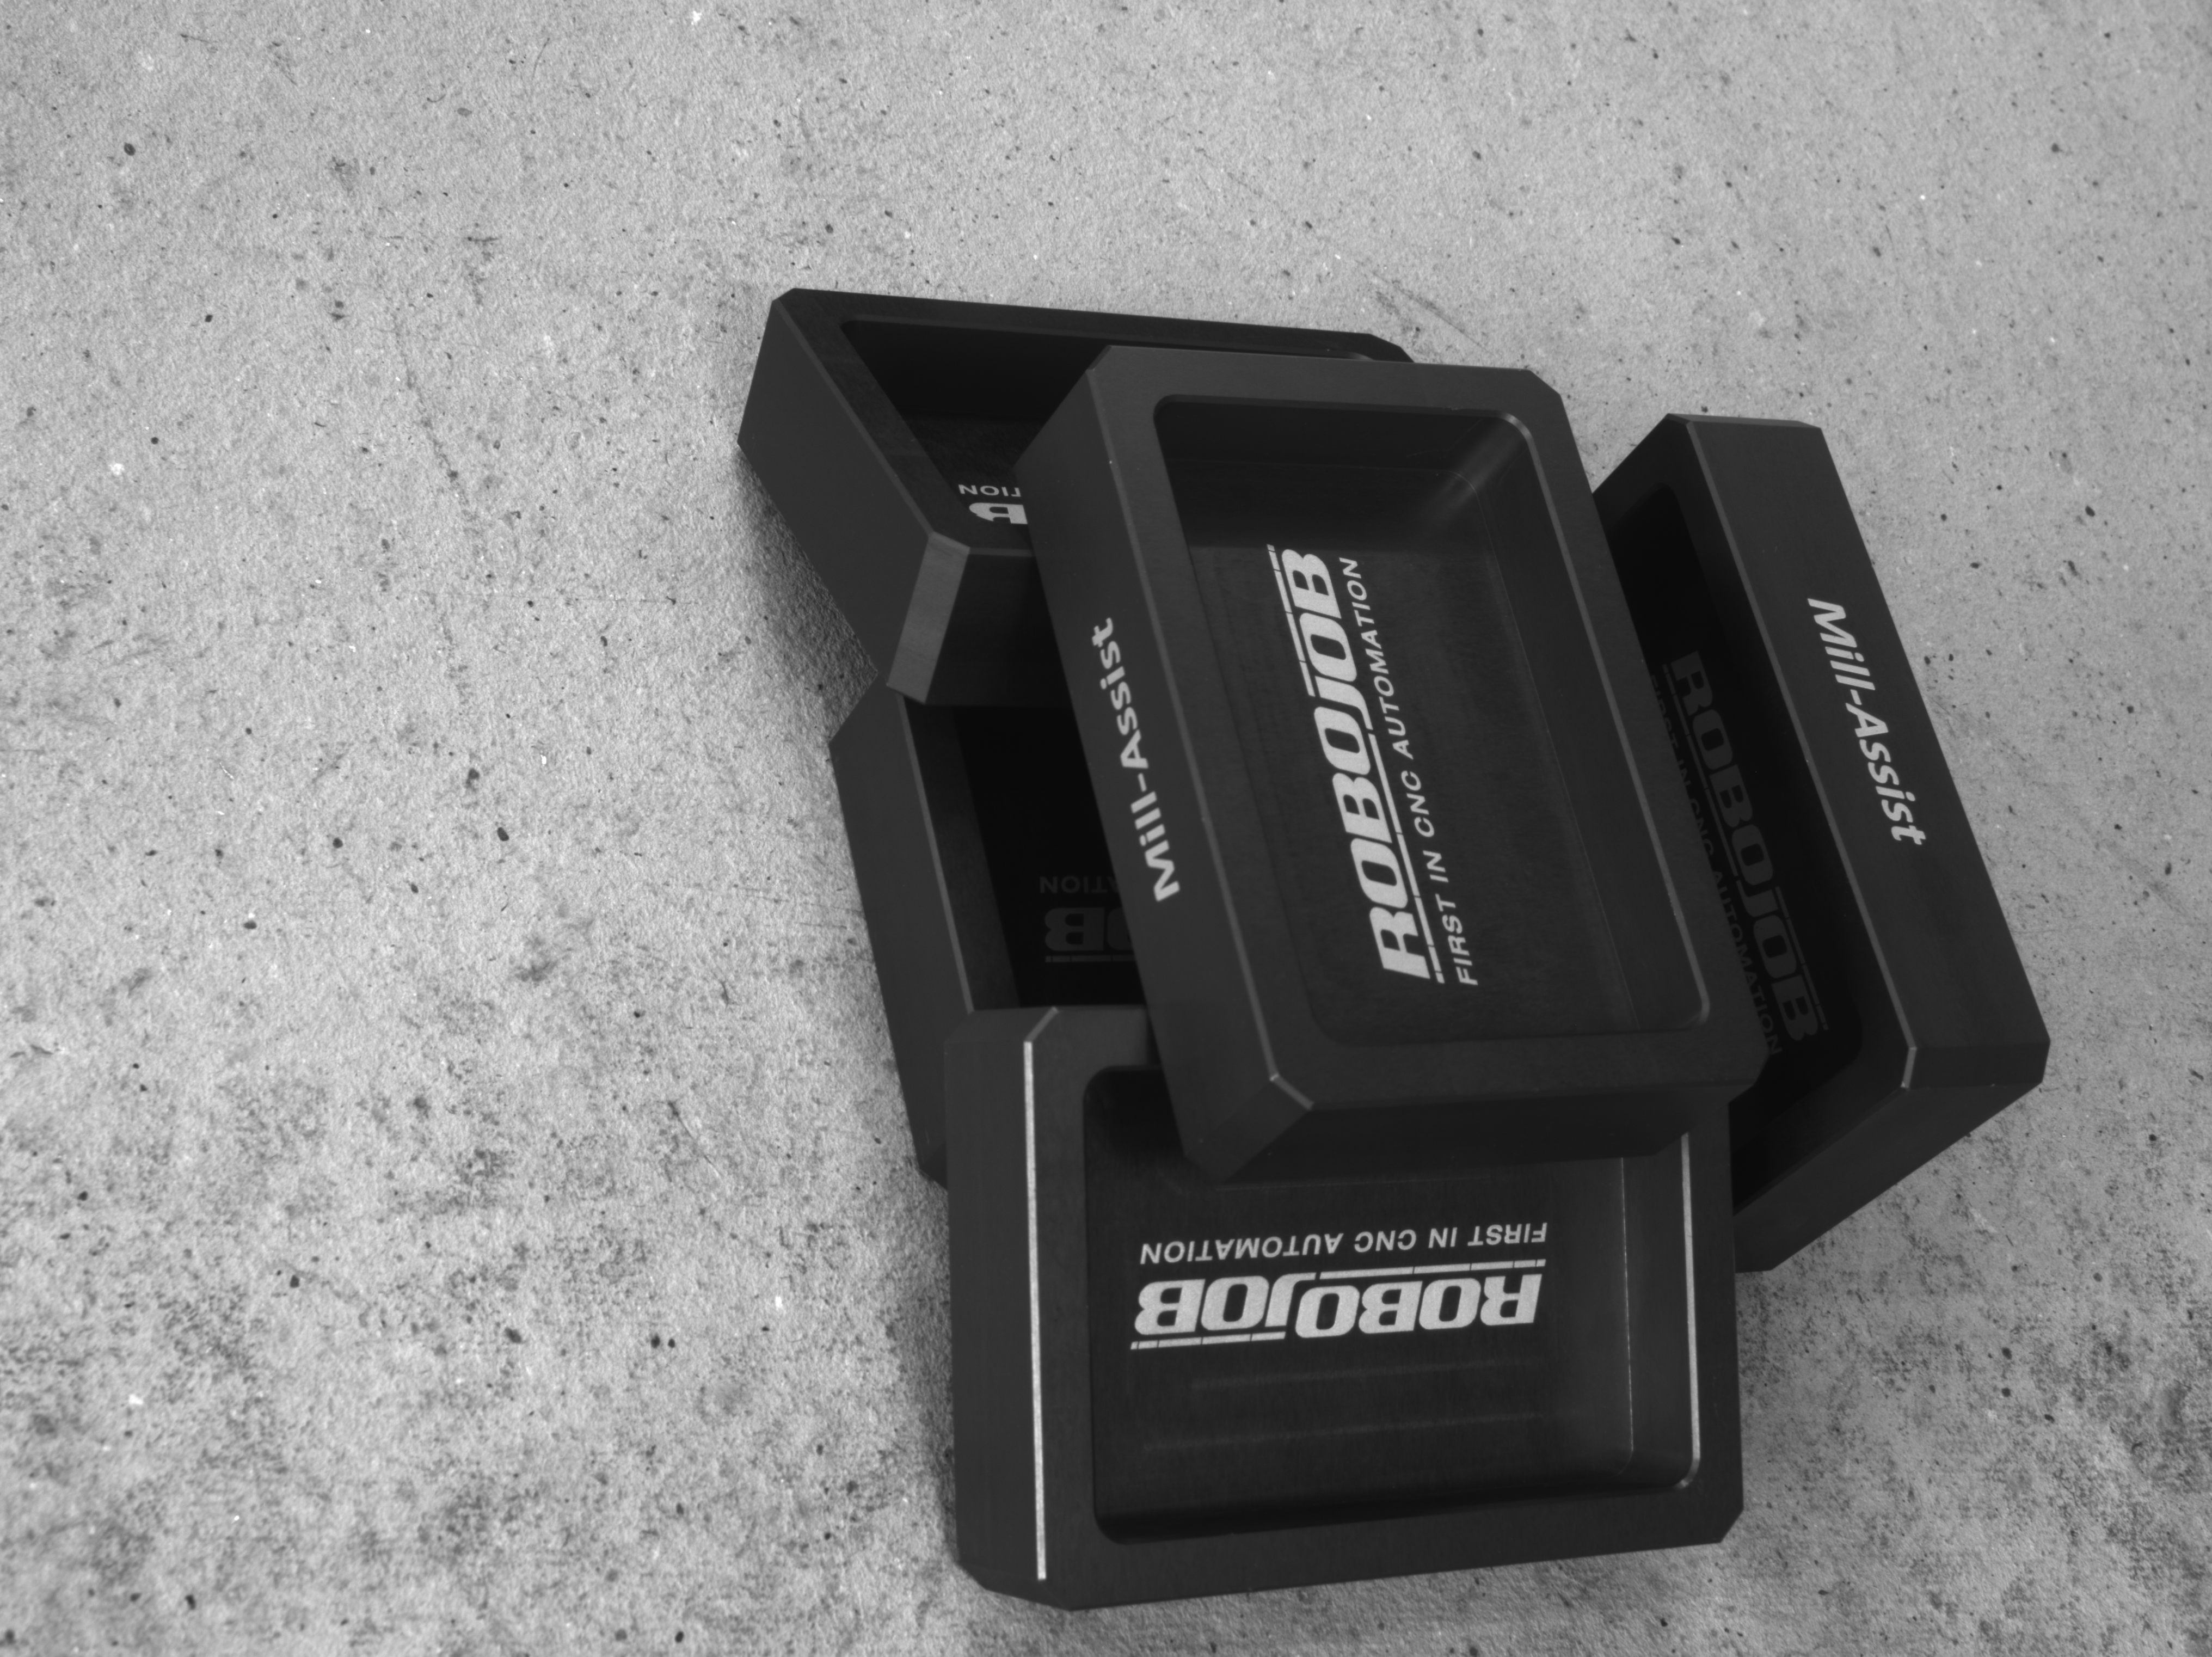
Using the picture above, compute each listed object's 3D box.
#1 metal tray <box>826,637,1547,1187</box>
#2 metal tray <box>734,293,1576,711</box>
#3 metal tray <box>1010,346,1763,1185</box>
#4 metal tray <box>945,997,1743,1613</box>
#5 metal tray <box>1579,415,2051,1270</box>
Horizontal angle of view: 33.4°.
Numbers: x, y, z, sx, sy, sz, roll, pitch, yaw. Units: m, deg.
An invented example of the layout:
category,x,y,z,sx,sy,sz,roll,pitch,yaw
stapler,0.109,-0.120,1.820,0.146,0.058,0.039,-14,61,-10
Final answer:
category,x,y,z,sx,sy,sz,roll,pitch,yaw
metal tray,0.024,0.013,0.639,0.130,0.030,0.090,-1,63,-28
metal tray,0.010,-0.057,0.655,0.130,0.030,0.090,0,35,-28
metal tray,0.043,-0.012,0.583,0.090,0.030,0.130,-1,64,-28
metal tray,0.040,0.073,0.591,0.130,0.030,0.090,0,86,-28
metal tray,0.110,0.004,0.654,0.030,0.090,0.130,-1,62,-28
